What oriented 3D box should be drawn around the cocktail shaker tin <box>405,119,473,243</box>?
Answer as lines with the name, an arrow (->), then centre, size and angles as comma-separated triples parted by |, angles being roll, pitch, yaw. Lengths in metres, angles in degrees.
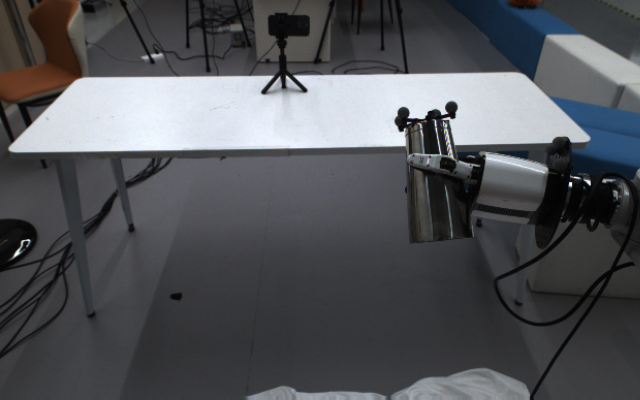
cocktail shaker tin -> 0.168, -0.026, 0.708 | 0.093, 0.170, 0.093 | -6, -7, -1
